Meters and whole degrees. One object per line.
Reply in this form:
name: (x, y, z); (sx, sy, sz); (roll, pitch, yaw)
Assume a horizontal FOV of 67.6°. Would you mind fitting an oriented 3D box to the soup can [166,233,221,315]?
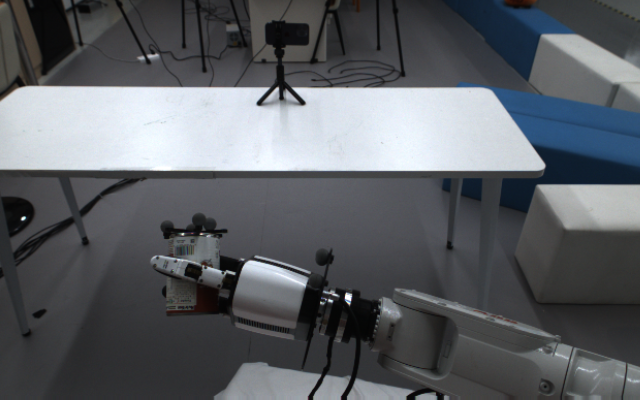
soup can: (-0.162, 0.099, 0.626); (0.067, 0.067, 0.101); (-1, 77, -5)
